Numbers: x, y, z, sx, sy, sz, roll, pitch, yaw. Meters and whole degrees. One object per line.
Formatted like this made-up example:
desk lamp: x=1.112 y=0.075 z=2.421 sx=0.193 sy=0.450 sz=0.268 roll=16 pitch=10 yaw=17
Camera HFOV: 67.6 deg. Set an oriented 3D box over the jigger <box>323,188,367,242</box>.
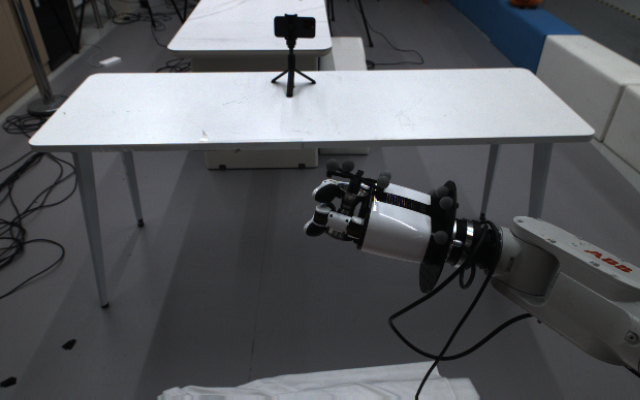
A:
jigger: x=0.039 y=0.017 z=0.672 sx=0.043 sy=0.071 sz=0.043 roll=15 pitch=17 yaw=-5
